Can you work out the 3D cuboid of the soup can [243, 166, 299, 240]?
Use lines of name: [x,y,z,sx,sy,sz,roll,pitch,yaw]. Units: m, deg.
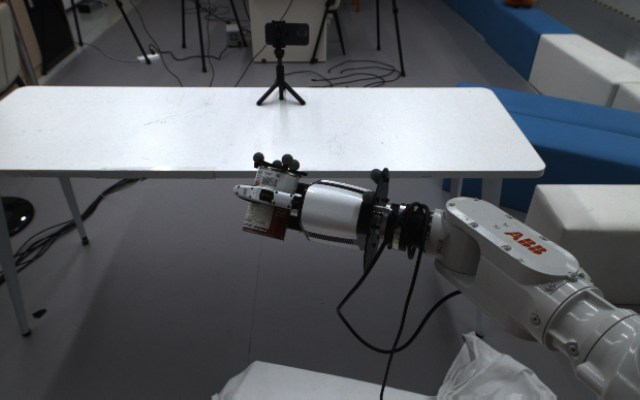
soup can: [-0.074,0.007,0.743,0.067,0.101,0.067,13,-6,1]
